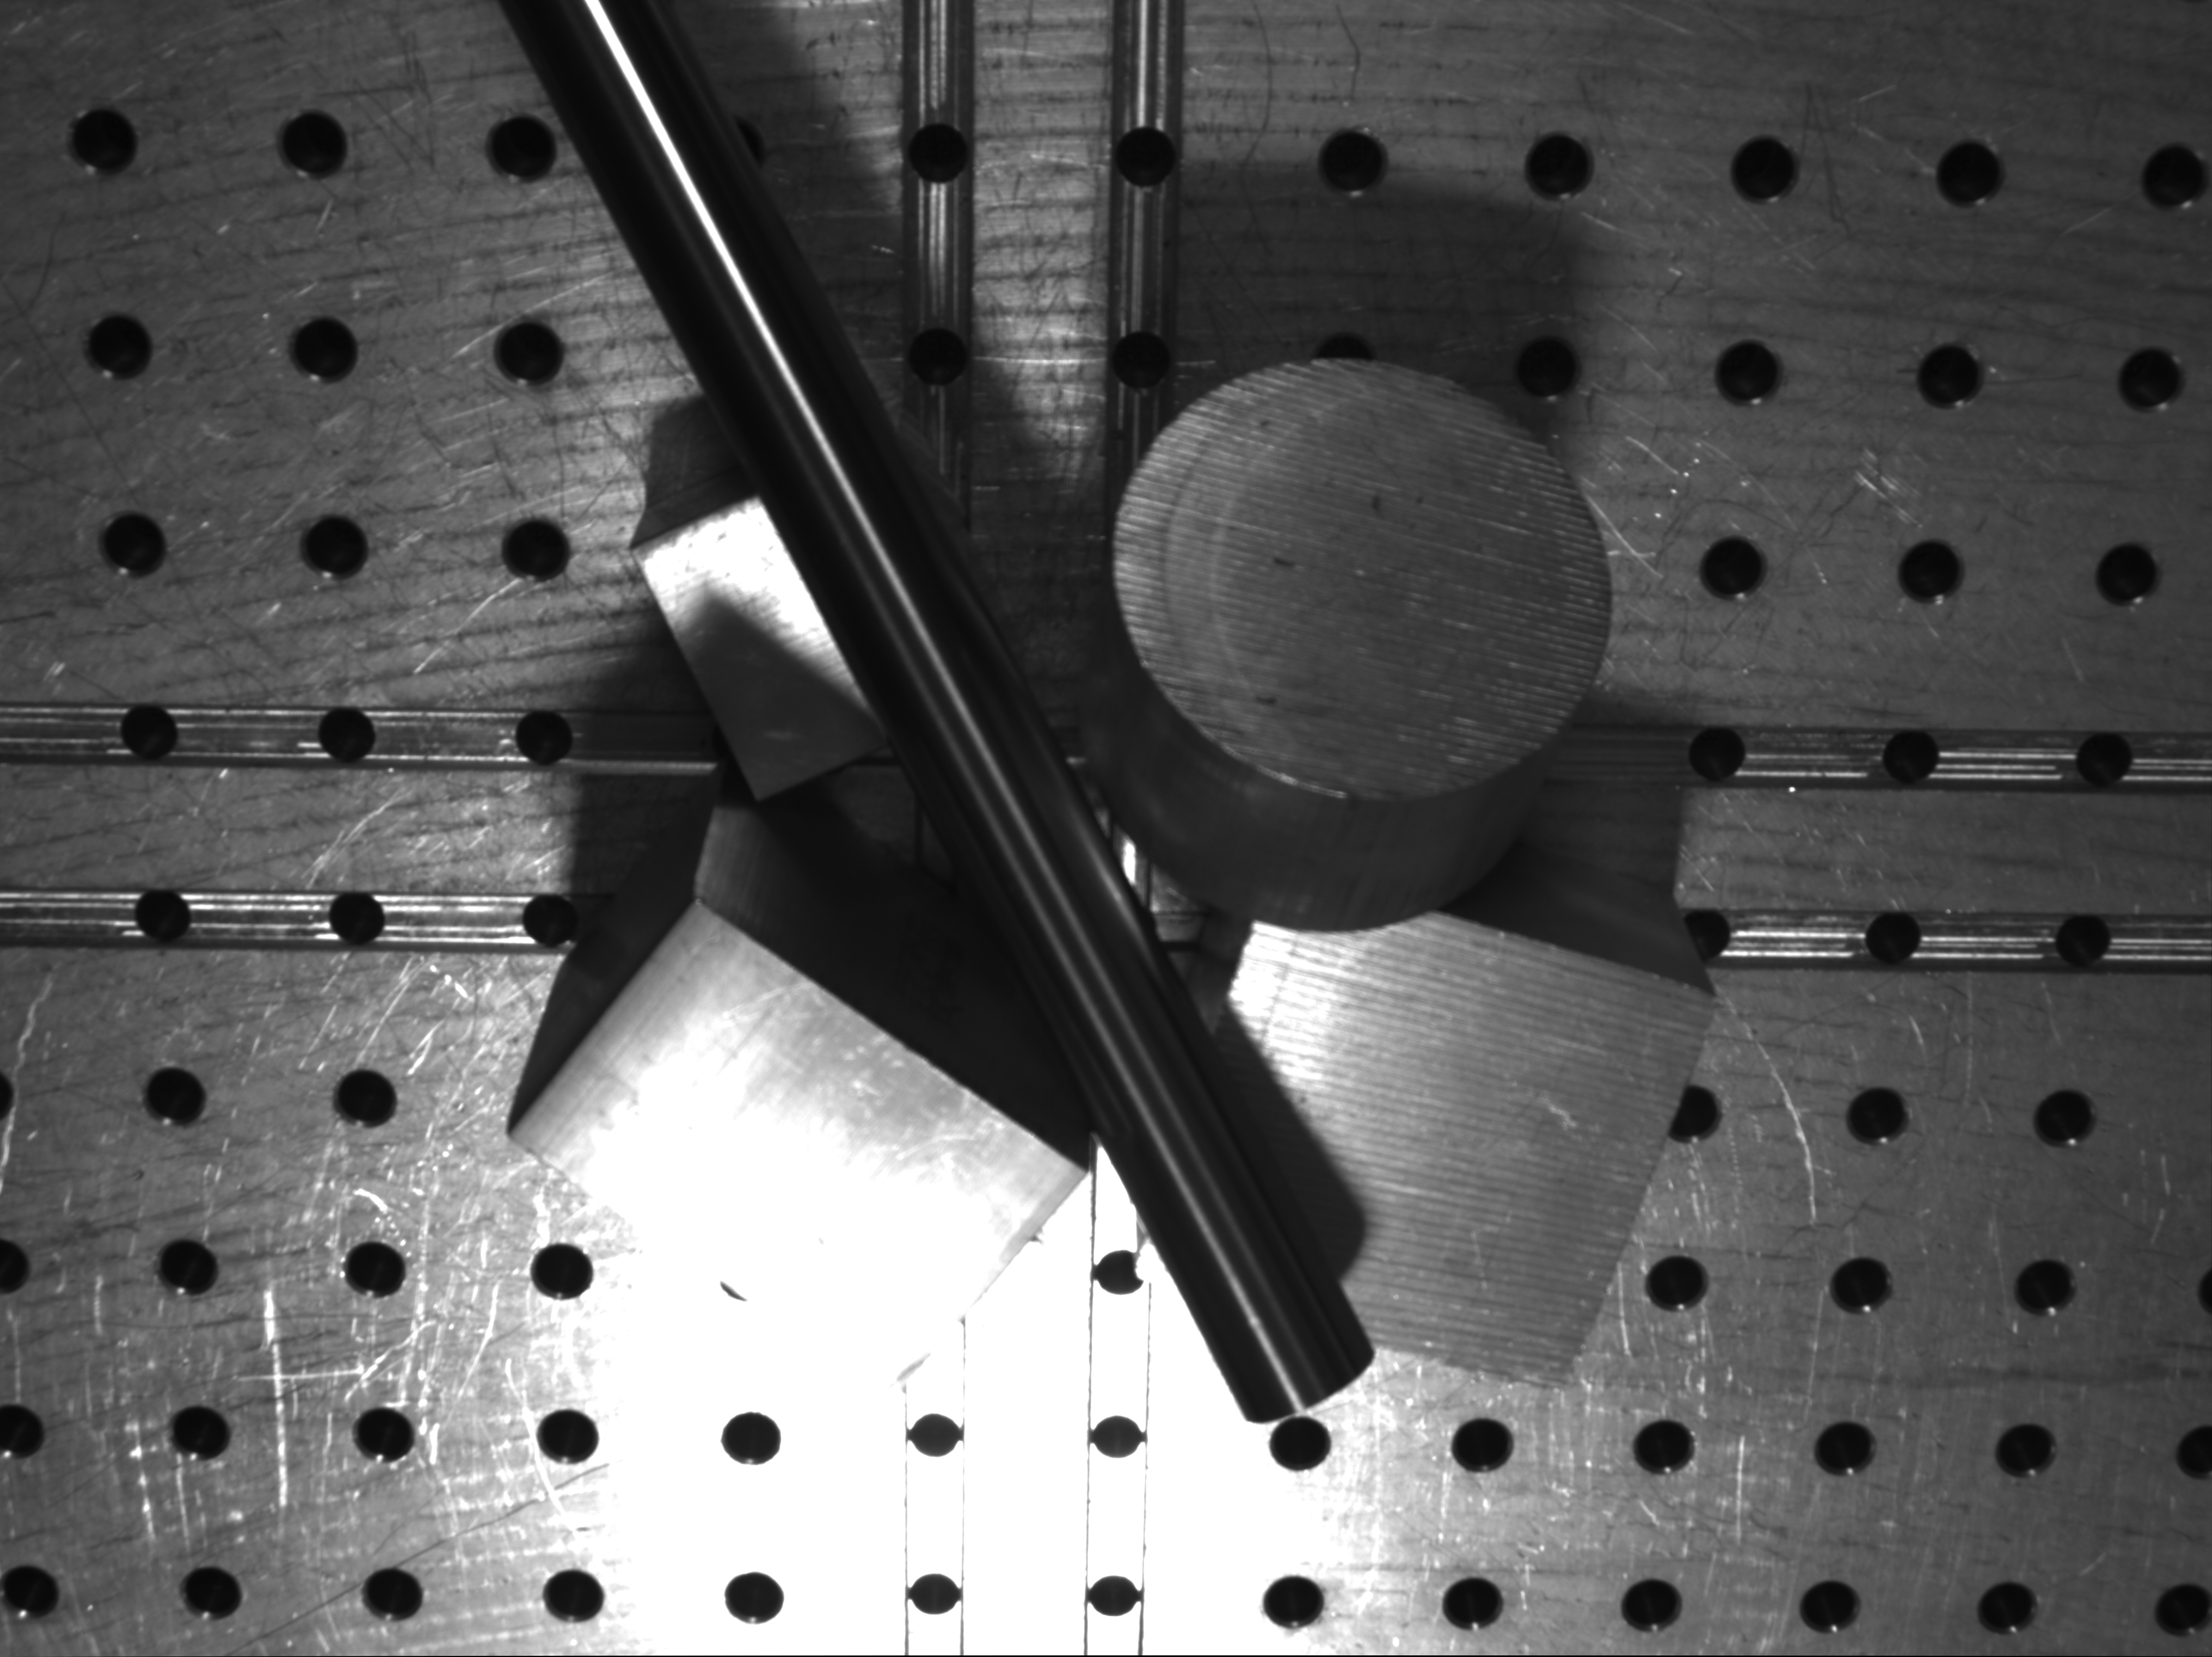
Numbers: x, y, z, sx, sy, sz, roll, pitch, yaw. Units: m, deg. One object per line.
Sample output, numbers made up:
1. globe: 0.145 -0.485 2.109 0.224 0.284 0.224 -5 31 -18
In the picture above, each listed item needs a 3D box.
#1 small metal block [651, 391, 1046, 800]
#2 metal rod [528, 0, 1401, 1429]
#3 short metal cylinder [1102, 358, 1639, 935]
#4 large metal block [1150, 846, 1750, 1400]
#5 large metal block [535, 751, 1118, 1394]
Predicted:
1. small metal block: -0.043 -0.040 0.631 0.050 0.025 0.050 -23 109 7
2. metal rod: -0.030 -0.038 0.599 0.025 0.025 0.300 -26 97 9
3. short metal cylinder: 0.042 -0.029 0.599 0.080 0.080 0.050 8 153 -4
4. large metal block: 0.058 0.045 0.649 0.080 0.050 0.080 16 109 -6
5. large metal block: -0.045 0.039 0.629 0.080 0.080 0.050 36 106 -12
